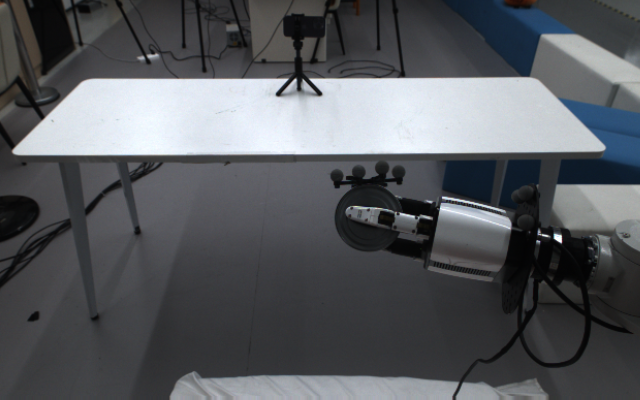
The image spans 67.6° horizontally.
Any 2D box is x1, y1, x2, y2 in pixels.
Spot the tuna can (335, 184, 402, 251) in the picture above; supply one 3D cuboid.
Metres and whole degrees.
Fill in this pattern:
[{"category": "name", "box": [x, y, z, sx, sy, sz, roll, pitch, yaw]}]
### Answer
[{"category": "tuna can", "box": [0.065, 0.021, 0.617, 0.085, 0.085, 0.034, 11, -8, 12]}]
